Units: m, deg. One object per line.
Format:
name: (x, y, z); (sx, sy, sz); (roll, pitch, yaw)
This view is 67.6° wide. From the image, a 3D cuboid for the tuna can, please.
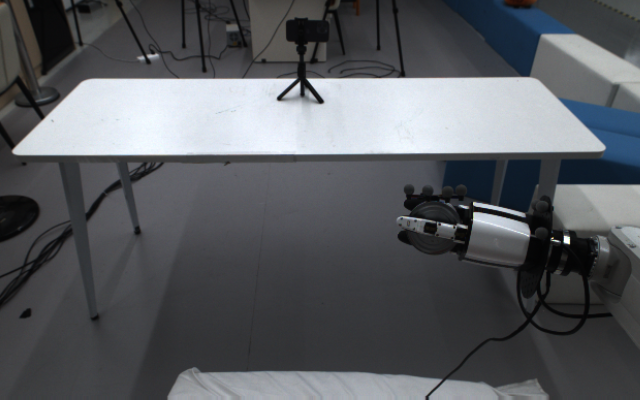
tuna can: (0.182, 0.042, 0.767); (0.085, 0.085, 0.034); (13, 7, 15)
